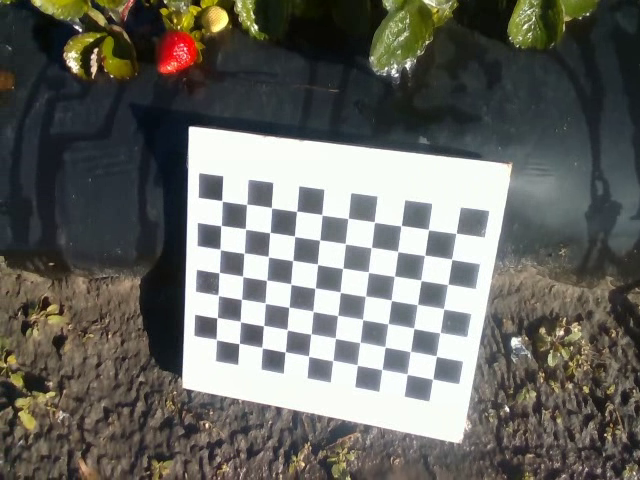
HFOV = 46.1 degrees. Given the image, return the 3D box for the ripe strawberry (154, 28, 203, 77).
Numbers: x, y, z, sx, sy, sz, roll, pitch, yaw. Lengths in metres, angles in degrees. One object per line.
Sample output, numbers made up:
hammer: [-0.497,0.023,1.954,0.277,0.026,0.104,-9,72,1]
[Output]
ripe strawberry: [-0.103,-0.129,0.529,0.039,0.040,0.039,2,43,24]
